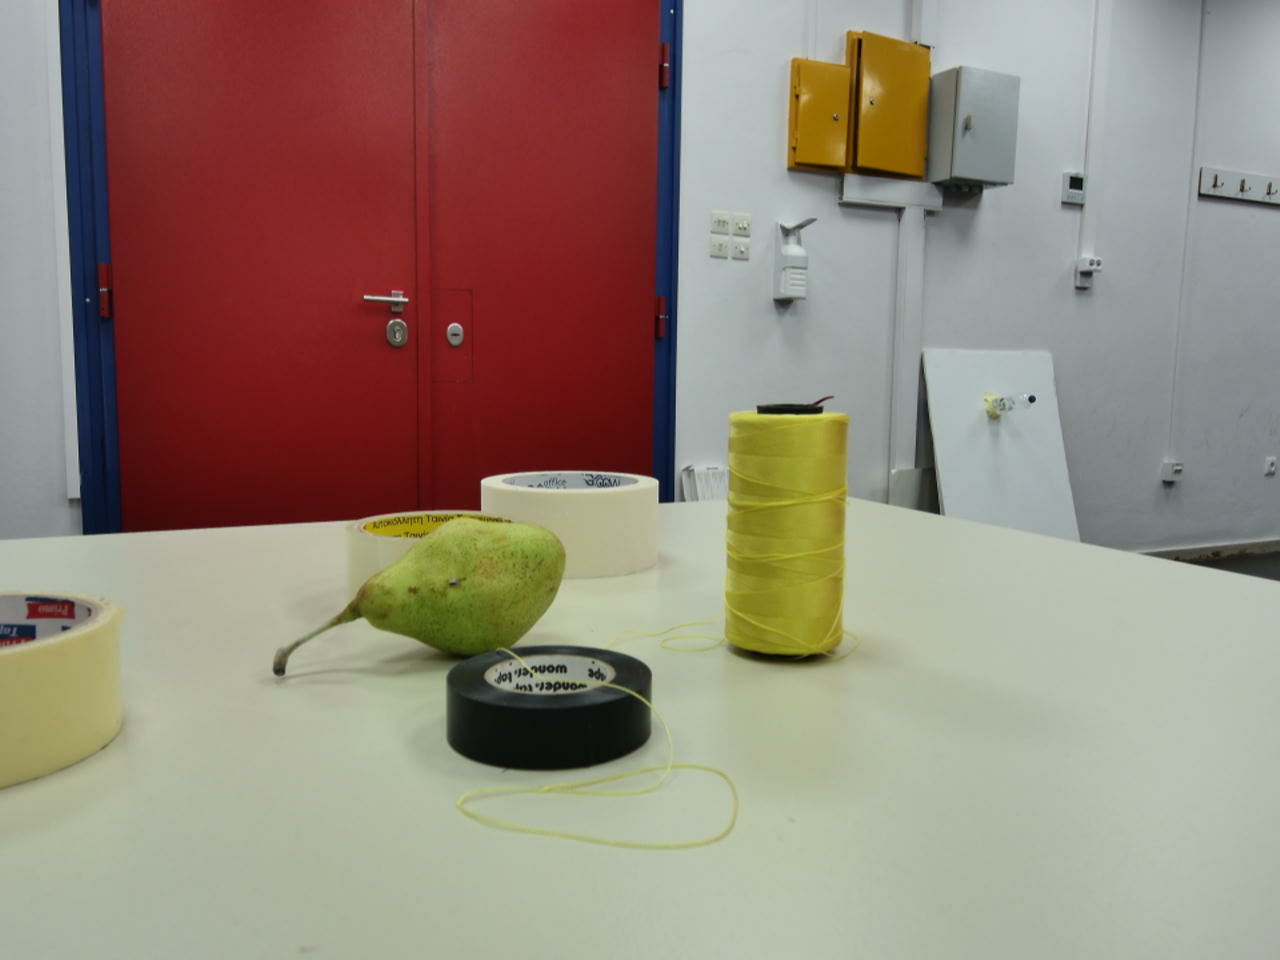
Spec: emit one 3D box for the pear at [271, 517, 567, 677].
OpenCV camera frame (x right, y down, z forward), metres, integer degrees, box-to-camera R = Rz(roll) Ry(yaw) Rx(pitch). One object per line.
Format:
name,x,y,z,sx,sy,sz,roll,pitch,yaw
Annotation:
pear,-0.086,0.044,0.404,0.111,0.056,0.056,-1,4,-11
